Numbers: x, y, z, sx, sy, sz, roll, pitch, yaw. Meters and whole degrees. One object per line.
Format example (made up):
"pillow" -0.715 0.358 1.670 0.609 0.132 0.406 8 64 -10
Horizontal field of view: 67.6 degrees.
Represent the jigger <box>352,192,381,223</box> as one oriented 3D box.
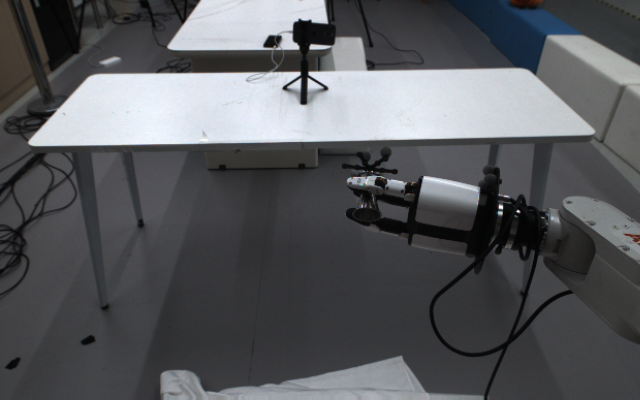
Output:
"jigger" 0.073 -0.007 0.747 0.043 0.043 0.071 4 60 3
